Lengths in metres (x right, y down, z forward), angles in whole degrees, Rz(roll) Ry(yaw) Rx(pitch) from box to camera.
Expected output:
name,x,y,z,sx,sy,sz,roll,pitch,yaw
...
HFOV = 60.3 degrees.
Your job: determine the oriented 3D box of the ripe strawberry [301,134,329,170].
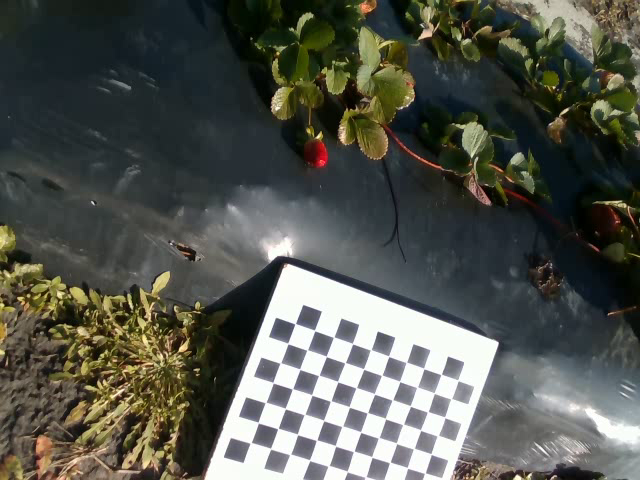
name,x,y,z,sx,sy,sz,roll,pitch,yaw
ripe strawberry,-0.005,-0.086,0.534,0.028,0.031,0.041,-5,35,-11
